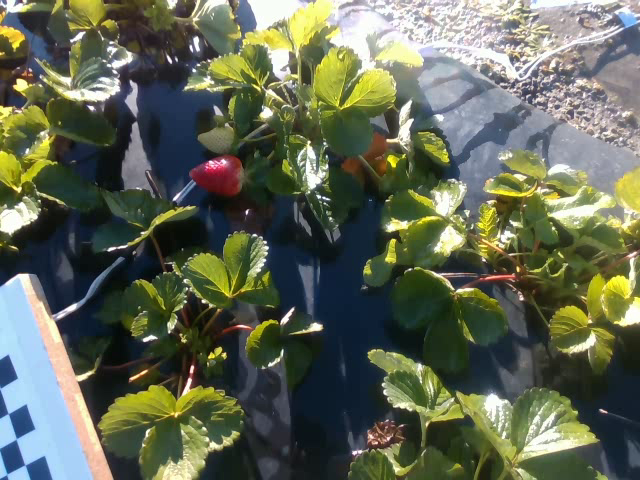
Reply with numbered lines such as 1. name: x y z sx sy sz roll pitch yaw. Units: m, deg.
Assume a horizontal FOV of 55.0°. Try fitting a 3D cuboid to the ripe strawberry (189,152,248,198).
1. ripe strawberry: -0.119 -0.078 0.716 0.080 0.062 0.040 0 0 -19
